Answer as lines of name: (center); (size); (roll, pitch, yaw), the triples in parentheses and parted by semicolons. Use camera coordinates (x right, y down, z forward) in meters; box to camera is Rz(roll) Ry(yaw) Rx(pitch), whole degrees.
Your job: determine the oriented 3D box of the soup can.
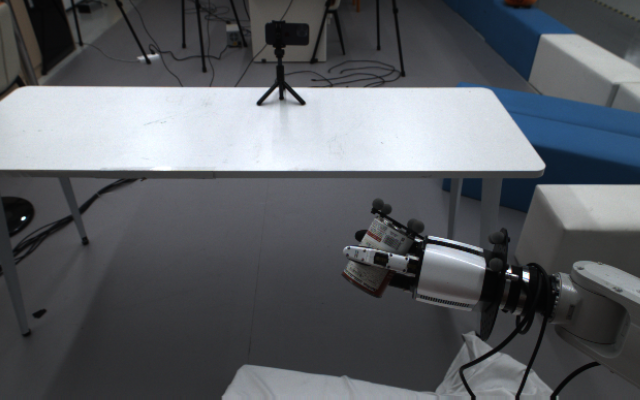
soup can: (0.087, 0.083, 0.708); (0.067, 0.101, 0.067); (30, 2, -1)
